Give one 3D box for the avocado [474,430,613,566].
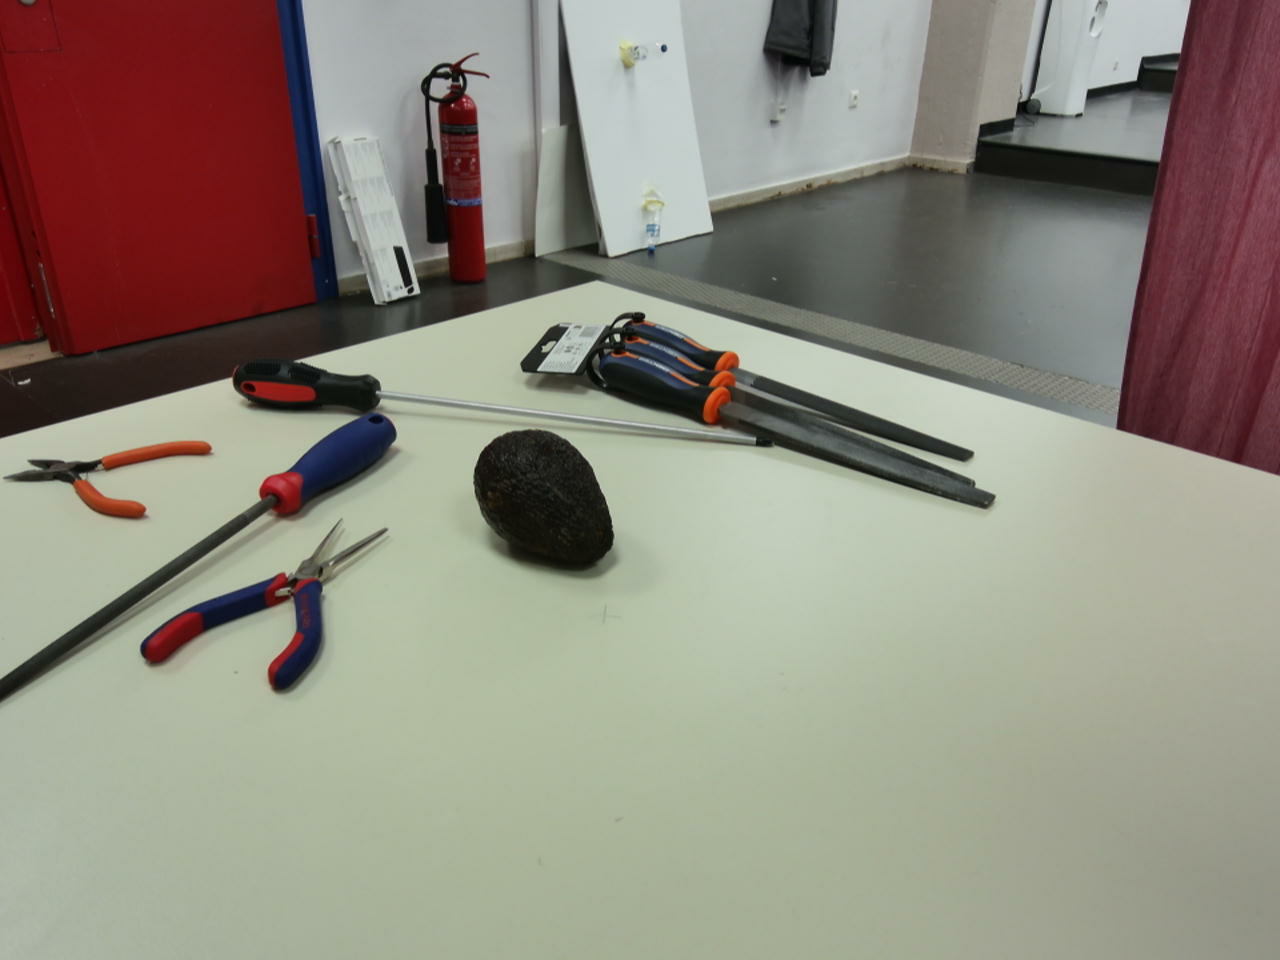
[{"bbox_3d":[-0.057,0.008,0.577,0.070,0.069,0.090,-9,27,-21],"label":"avocado"}]
